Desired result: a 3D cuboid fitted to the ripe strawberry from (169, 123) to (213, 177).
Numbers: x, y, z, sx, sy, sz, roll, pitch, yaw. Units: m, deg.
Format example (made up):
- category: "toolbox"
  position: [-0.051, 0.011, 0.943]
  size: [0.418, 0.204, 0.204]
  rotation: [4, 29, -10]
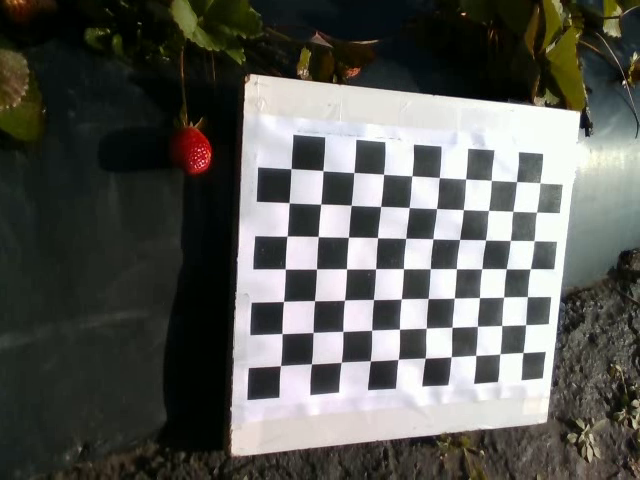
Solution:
- category: "ripe strawberry"
  position: [-0.075, -0.049, 0.363]
  size: [0.034, 0.033, 0.038]
  rotation: [0, 45, -21]
